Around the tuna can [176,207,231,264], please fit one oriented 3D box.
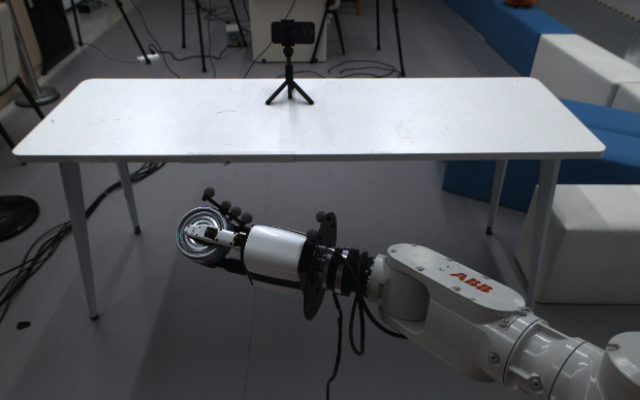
[{"bbox_3d":[-0.177,0.055,0.746,0.085,0.034,0.085,-3,69,9],"label":"tuna can"}]
